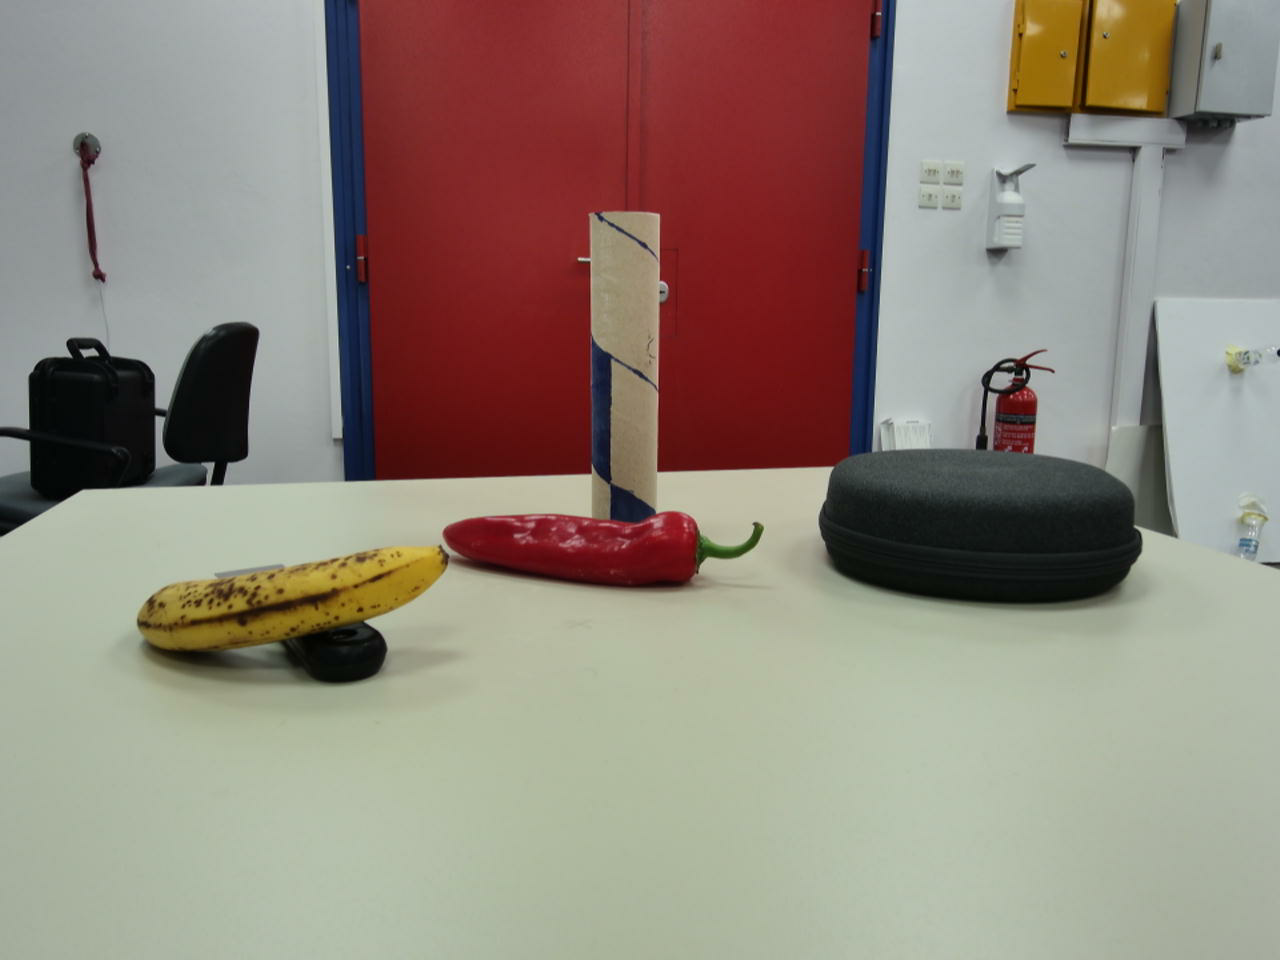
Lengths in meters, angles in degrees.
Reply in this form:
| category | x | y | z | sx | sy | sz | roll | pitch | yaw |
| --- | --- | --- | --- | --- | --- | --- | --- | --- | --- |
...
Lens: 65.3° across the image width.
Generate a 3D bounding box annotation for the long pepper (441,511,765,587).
| category | x | y | z | sx | sy | sz | roll | pitch | yaw |
| --- | --- | --- | --- | --- | --- | --- | --- | --- | --- |
| long pepper | -0.032 | 0.038 | 0.607 | 0.211 | 0.043 | 0.050 | 2 | 8 | 19 |
